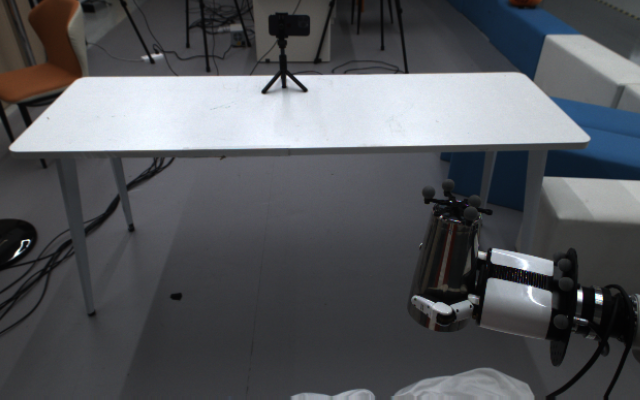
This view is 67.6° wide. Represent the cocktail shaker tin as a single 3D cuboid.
[{"bbox_3d":[0.180,0.089,0.682,0.093,0.170,0.093,1,28,-1],"label":"cocktail shaker tin"}]
